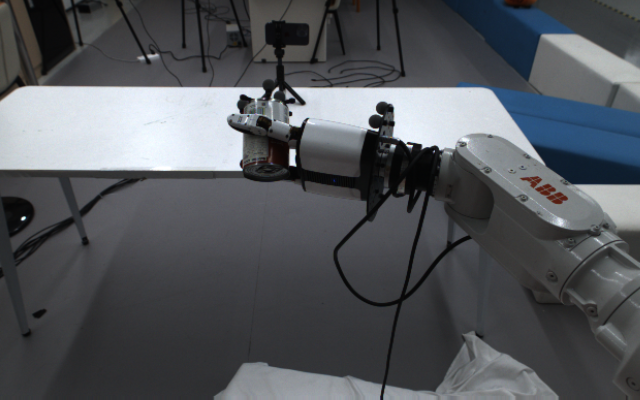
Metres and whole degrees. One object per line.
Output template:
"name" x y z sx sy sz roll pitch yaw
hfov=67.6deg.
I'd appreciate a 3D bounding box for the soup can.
"soup can" -0.076 -0.084 0.686 0.067 0.067 0.101 -1 71 -5
